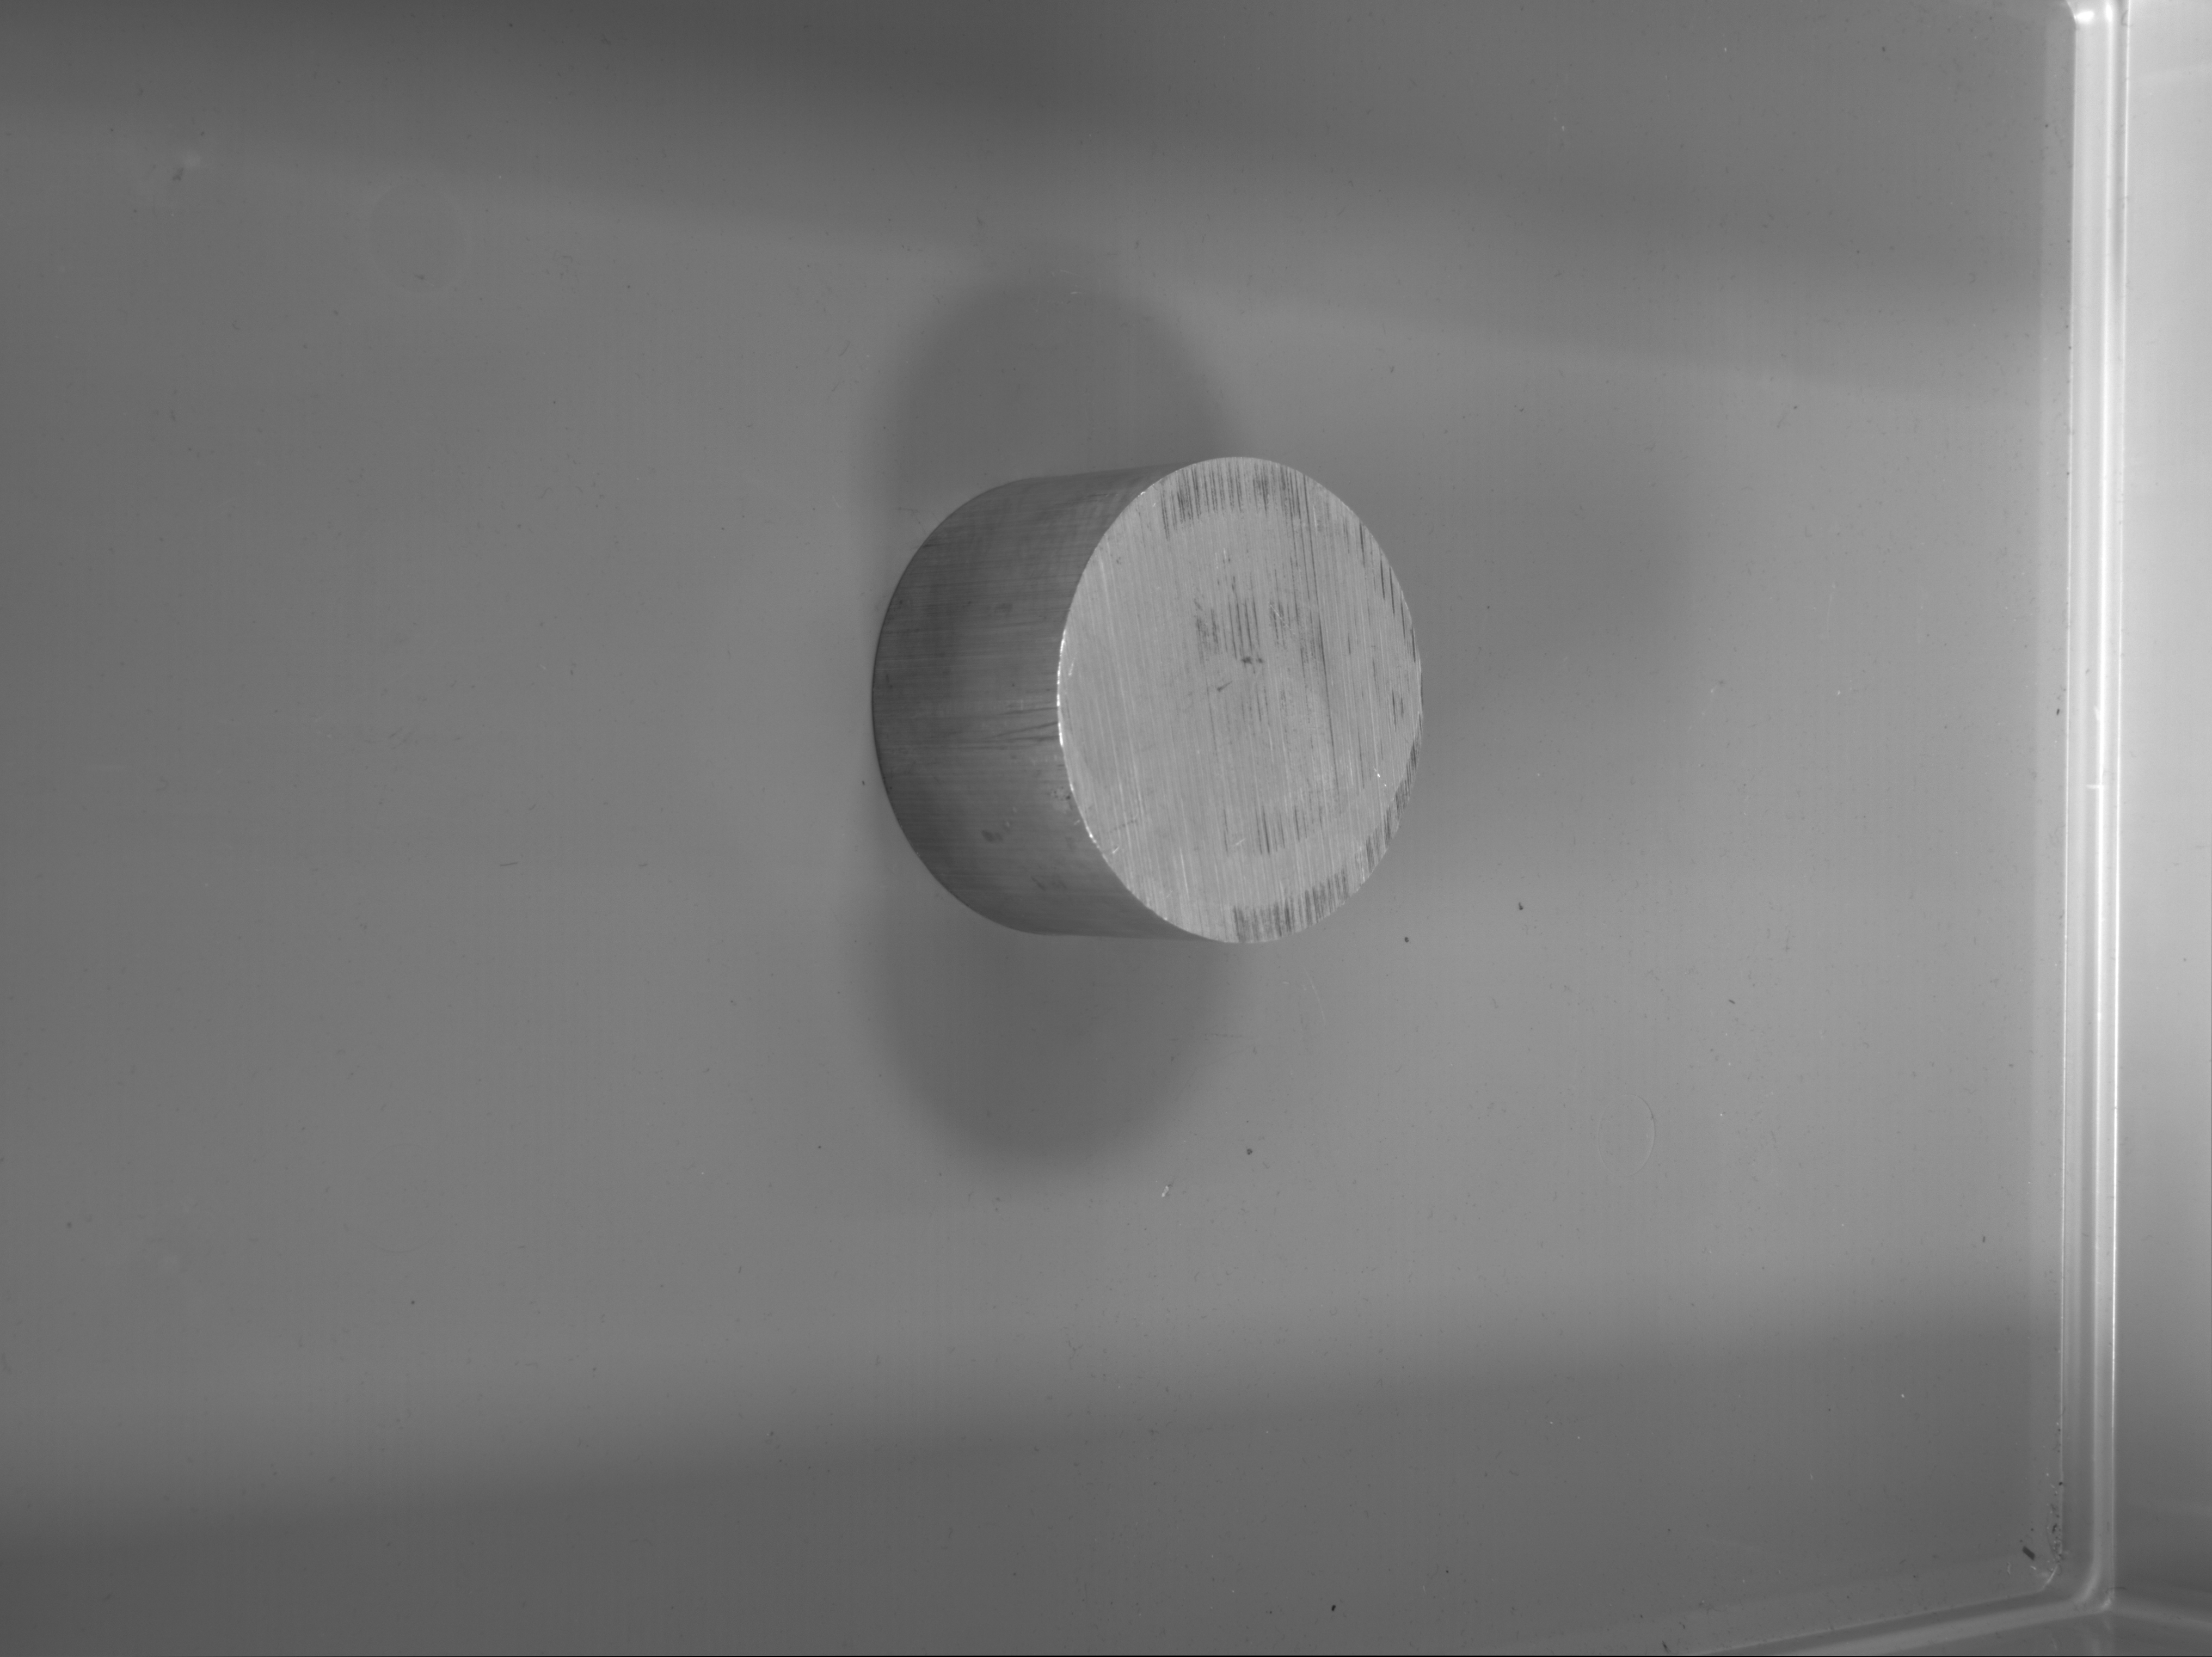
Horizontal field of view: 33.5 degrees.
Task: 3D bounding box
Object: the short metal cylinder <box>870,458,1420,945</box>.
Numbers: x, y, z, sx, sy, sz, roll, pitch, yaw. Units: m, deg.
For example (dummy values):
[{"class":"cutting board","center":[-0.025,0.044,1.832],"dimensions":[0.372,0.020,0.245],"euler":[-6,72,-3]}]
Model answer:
[{"class":"short metal cylinder","center":[0.007,-0.021,0.624],"dimensions":[0.080,0.050,0.080],"euler":[0,90,-40]}]
